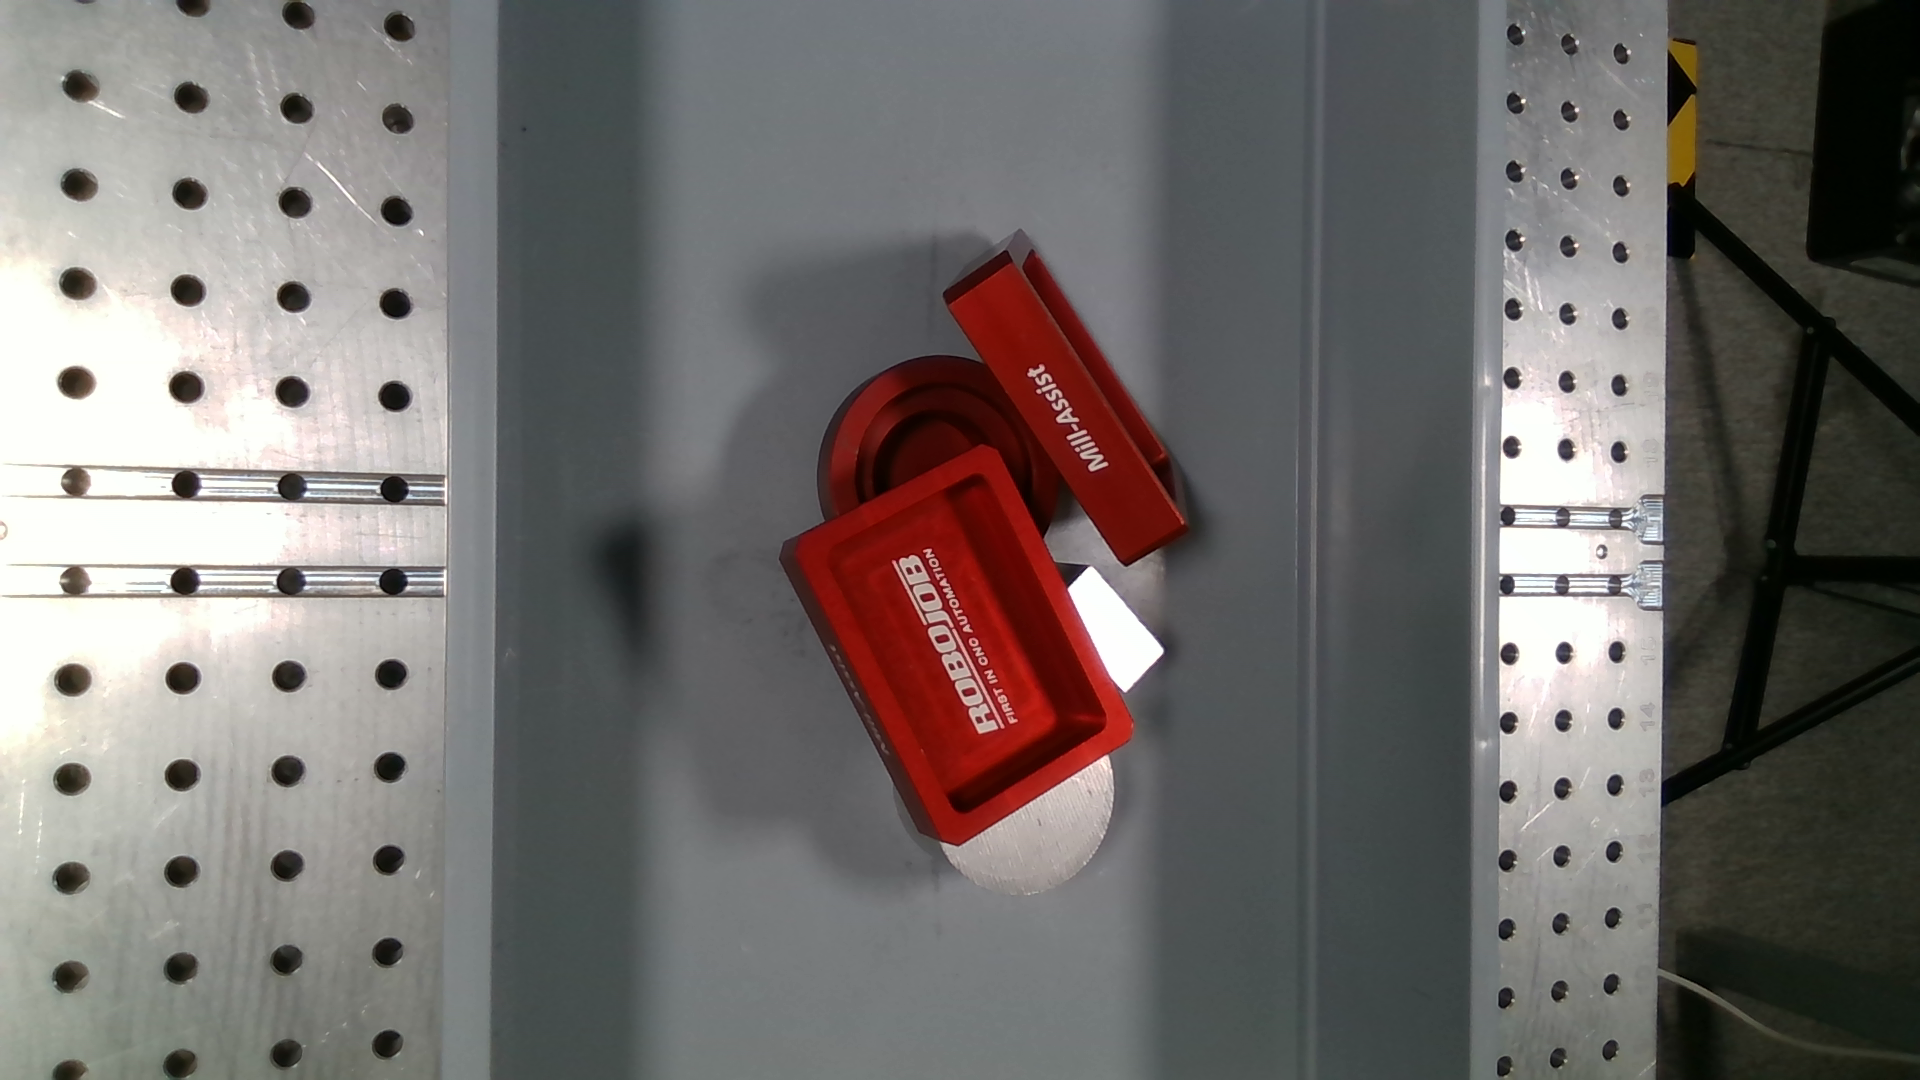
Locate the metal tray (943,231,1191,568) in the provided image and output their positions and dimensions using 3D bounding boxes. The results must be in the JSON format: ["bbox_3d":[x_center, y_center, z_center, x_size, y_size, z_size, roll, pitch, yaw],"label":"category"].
[{"bbox_3d":[0.046,-0.061,0.565,0.030,0.090,0.130,-32,103,15],"label":"metal tray"}]

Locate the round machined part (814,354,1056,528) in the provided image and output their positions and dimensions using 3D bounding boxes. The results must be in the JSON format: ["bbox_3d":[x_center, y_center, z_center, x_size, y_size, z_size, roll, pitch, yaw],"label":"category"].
[{"bbox_3d":[-0.013,-0.026,0.572,0.098,0.042,0.098,0,90,-20],"label":"round machined part"}]

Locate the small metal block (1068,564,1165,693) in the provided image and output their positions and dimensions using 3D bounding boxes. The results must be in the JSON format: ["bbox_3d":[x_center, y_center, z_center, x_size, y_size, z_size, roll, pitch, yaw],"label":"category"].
[{"bbox_3d":[0.052,0.036,0.590,0.025,0.050,0.050,-45,106,-15],"label":"small metal block"}]

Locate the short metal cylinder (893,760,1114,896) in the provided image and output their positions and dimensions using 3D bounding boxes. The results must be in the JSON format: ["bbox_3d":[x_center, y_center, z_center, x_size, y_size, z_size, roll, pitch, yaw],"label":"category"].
[{"bbox_3d":[0.017,0.103,0.578,0.080,0.050,0.080,0,90,-20],"label":"short metal cylinder"}]

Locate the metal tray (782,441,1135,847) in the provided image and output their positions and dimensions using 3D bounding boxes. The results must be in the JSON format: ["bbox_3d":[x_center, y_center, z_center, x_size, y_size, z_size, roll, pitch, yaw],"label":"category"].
[{"bbox_3d":[-0.001,0.039,0.531,0.090,0.030,0.130,-28,95,-19],"label":"metal tray"}]
